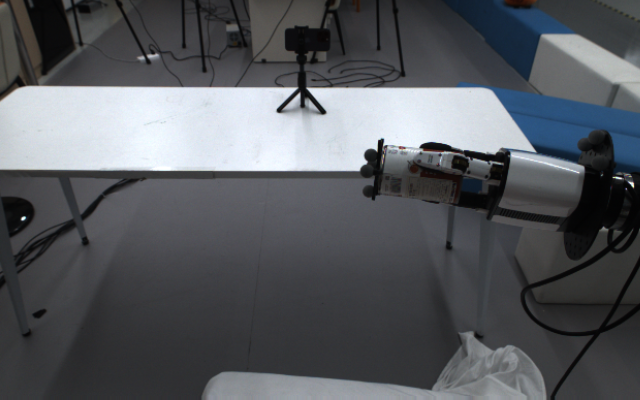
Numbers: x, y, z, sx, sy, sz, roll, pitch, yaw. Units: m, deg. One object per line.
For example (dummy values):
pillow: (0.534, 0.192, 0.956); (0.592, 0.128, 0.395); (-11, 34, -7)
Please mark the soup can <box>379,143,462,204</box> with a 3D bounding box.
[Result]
soup can: (0.133, -0.035, 0.630); (0.101, 0.067, 0.067); (7, 35, 10)
